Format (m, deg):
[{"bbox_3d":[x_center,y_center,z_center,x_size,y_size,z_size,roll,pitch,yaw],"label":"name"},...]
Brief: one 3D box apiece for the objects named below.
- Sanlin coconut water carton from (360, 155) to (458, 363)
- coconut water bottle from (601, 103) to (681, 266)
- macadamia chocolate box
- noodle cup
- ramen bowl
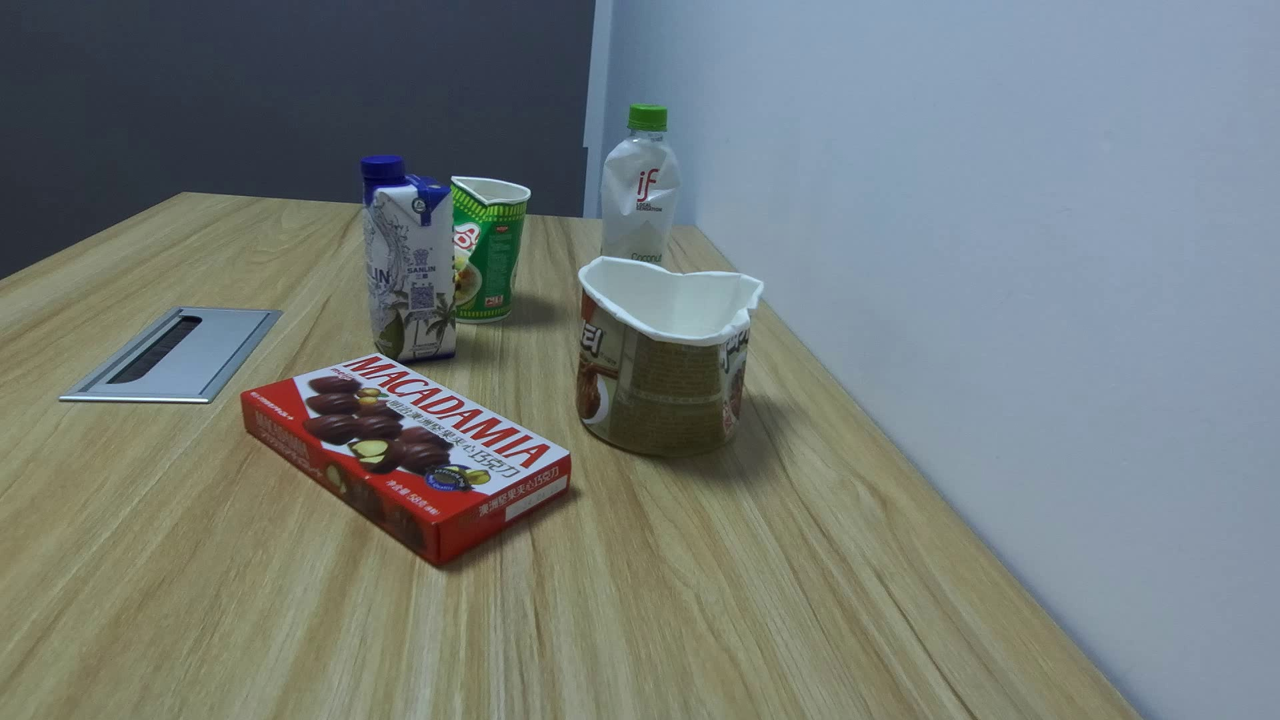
[{"bbox_3d":[-0.168,-0.073,0.517,0.061,0.144,0.060,-9,27,-32],"label":"Sanlin coconut water carton"},{"bbox_3d":[-0.002,-0.118,0.597,0.067,0.187,0.067,6,22,-2],"label":"coconut water bottle"},{"bbox_3d":[-0.135,0.046,0.402,0.177,0.027,0.096,22,27,30],"label":"macadamia chocolate box"},{"bbox_3d":[-0.141,-0.095,0.610,0.075,0.122,0.082,11,16,-10],"label":"noodle cup"},{"bbox_3d":[0.015,-0.002,0.454,0.113,0.097,0.134,8,24,4],"label":"ramen bowl"}]
